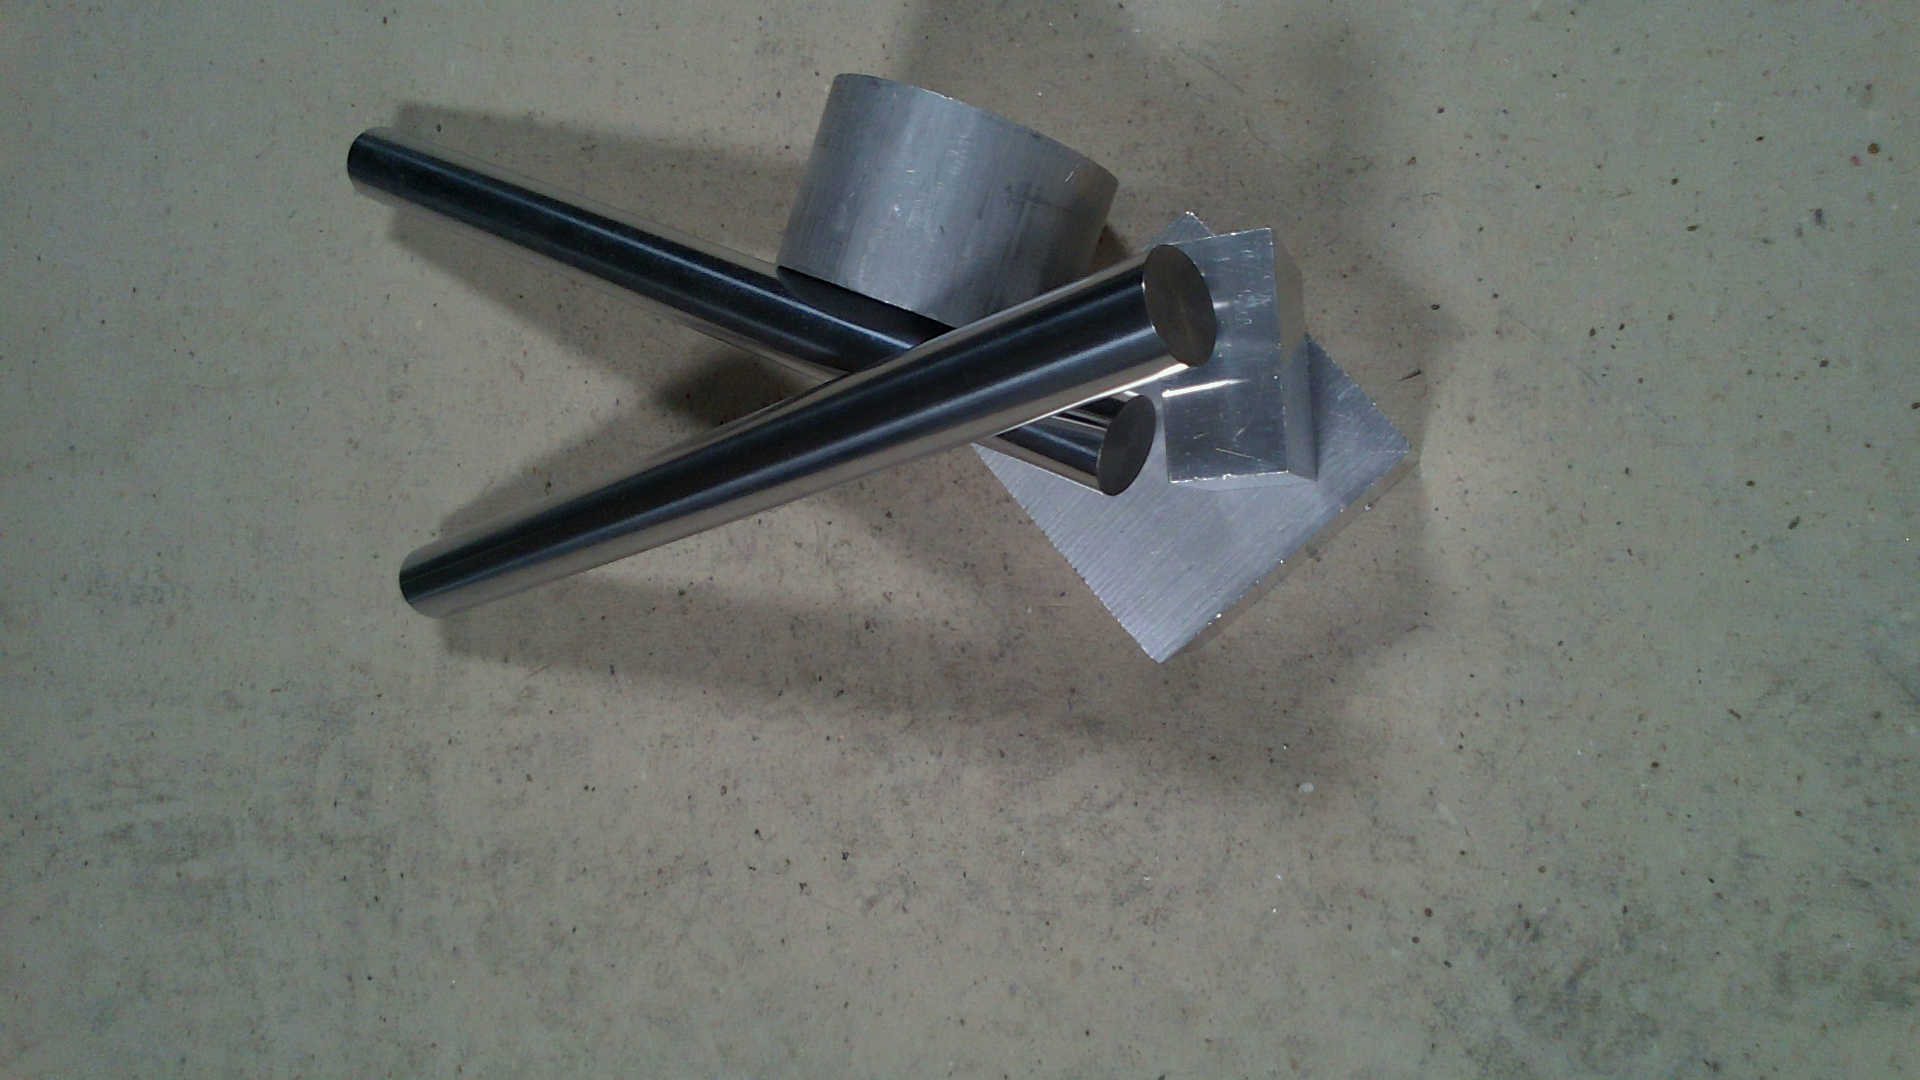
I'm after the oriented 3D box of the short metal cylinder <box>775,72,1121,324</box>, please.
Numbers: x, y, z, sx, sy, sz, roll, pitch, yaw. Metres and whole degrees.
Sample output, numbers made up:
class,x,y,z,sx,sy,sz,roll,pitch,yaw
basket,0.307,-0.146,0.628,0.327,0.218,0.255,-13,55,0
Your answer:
class,x,y,z,sx,sy,sz,roll,pitch,yaw
short metal cylinder,-0.003,-0.085,0.369,0.080,0.080,0.050,22,98,19

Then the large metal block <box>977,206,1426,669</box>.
class,x,y,z,sx,sy,sz,roll,pitch,yaw
large metal block,0.062,-0.025,0.359,0.080,0.050,0.080,-43,76,16

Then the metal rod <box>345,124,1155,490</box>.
class,x,y,z,sx,sy,sz,roll,pitch,yaw
metal rod,-0.080,-0.076,0.394,0.299,0.025,0.025,24,98,30

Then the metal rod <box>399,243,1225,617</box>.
class,x,y,z,sx,sy,sz,roll,pitch,yaw
metal rod,-0.065,-0.016,0.363,0.299,0.025,0.025,-15,85,40

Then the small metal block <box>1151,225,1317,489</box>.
class,x,y,z,sx,sy,sz,roll,pitch,yaw
small metal block,0.062,-0.038,0.304,0.025,0.050,0.050,-5,89,21
